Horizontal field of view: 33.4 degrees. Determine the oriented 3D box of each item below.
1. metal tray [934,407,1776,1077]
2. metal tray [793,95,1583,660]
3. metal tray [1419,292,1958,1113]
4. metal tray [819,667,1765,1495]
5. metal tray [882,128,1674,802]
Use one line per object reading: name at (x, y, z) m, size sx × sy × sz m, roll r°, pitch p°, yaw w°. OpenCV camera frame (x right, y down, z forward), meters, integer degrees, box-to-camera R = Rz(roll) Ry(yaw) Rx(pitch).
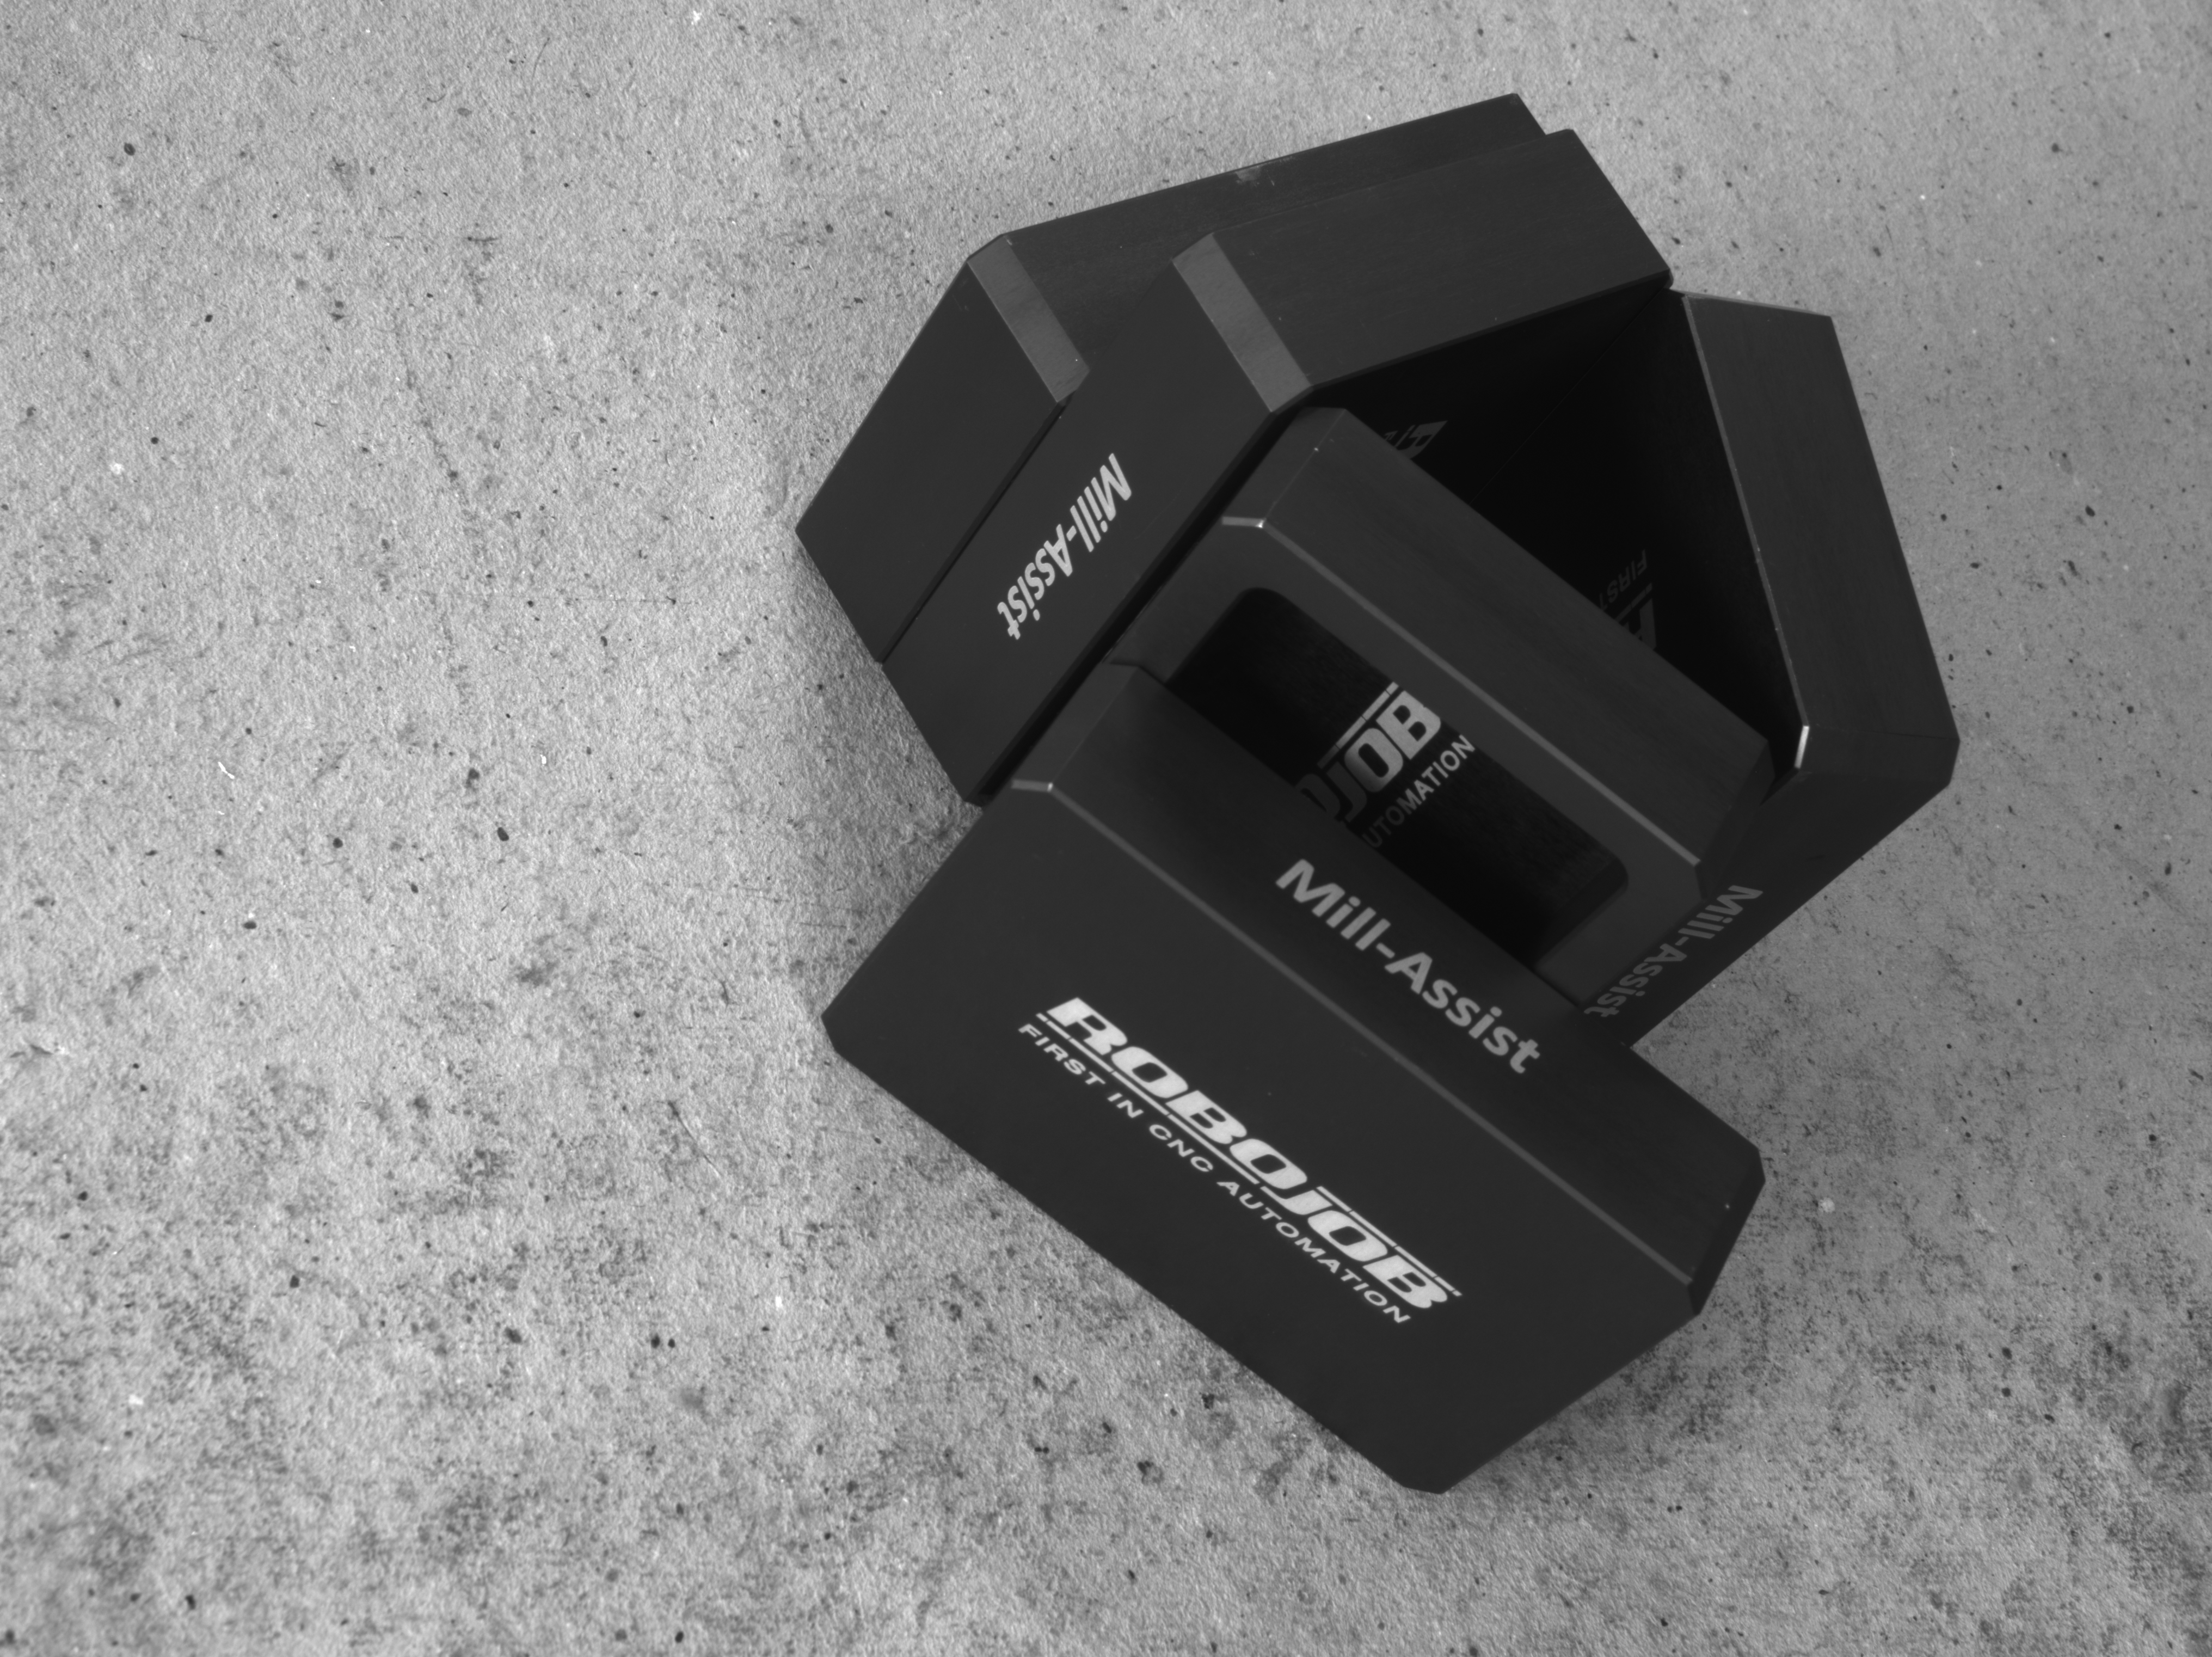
metal tray at (0.034, 0.002, 0.589) m, size 0.090 × 0.130 × 0.030 m, roll 37°, pitch 51°, yaw -3°
metal tray at (0.017, -0.080, 0.656) m, size 0.130 × 0.090 × 0.030 m, roll -21°, pitch 73°, yaw -36°
metal tray at (0.086, -0.018, 0.629) m, size 0.030 × 0.130 × 0.090 m, roll 5°, pitch 60°, yaw -25°
metal tray at (0.027, 0.043, 0.585) m, size 0.130 × 0.090 × 0.030 m, roll 38°, pitch 51°, yaw -3°
metal tray at (0.026, -0.059, 0.622) m, size 0.090 × 0.130 × 0.030 m, roll -22°, pitch 74°, yaw -36°
